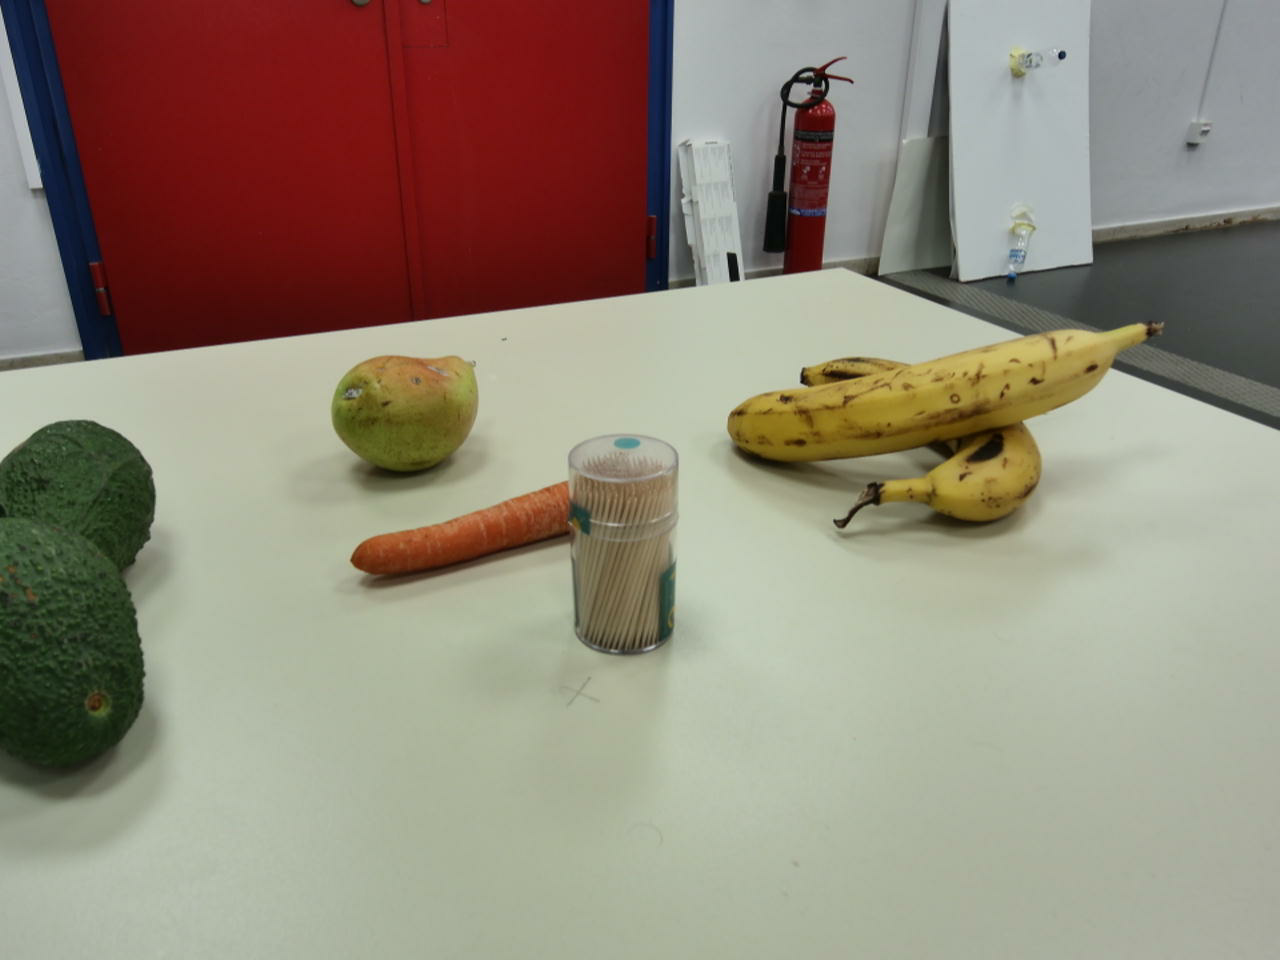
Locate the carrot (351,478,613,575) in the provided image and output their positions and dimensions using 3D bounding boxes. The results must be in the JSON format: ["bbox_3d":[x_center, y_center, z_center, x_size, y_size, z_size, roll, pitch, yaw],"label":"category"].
[{"bbox_3d":[-0.066,0.020,0.446,0.122,0.023,0.024,-13,27,-26],"label":"carrot"}]
